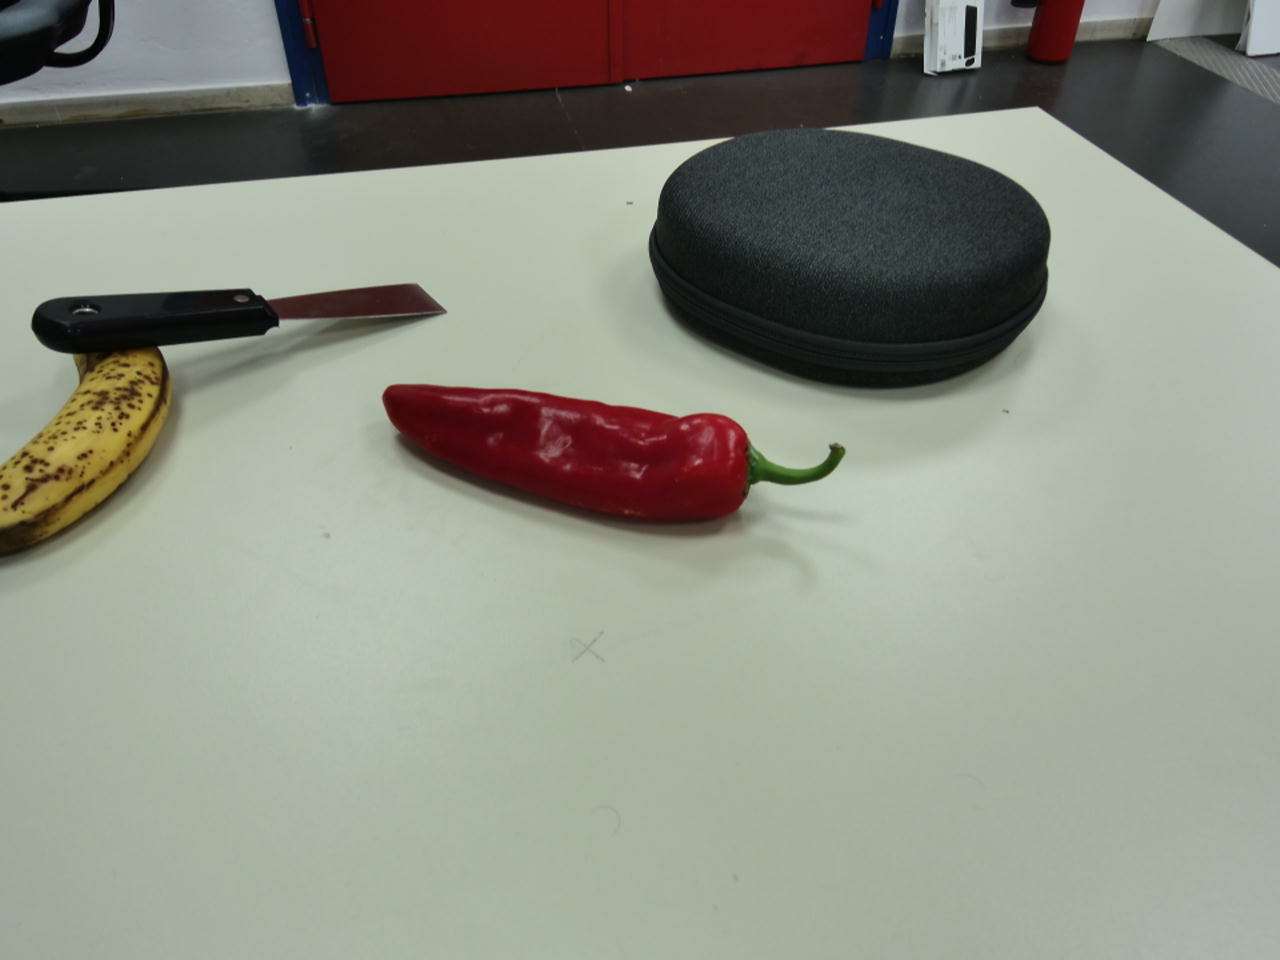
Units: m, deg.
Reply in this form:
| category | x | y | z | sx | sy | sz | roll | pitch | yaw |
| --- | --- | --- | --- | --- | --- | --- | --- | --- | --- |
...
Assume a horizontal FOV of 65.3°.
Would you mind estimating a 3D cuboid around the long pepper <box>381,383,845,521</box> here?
| category | x | y | z | sx | sy | sz | roll | pitch | yaw |
| --- | --- | --- | --- | --- | --- | --- | --- | --- | --- |
| long pepper | -0.021 | -0.015 | 0.426 | 0.211 | 0.043 | 0.050 | 12 | 40 | 15 |
